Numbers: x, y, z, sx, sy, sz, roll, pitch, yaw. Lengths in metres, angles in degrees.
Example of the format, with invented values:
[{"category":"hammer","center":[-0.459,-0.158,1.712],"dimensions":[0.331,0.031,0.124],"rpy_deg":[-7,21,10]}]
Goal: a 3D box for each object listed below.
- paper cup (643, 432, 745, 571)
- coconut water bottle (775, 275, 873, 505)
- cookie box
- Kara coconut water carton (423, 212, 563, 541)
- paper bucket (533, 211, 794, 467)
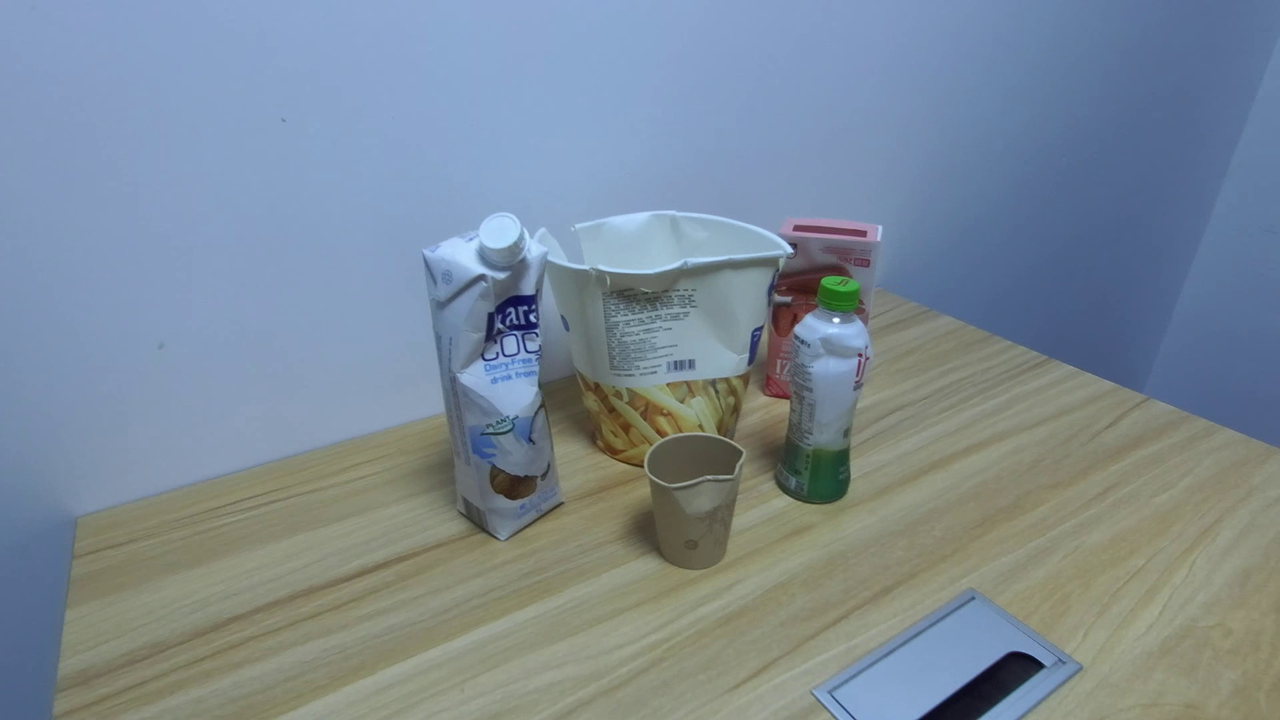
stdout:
[{"category":"paper cup","center":[0.042,0.110,0.535],"dimensions":[0.068,0.081,0.074],"rpy_deg":[16,29,32]},{"category":"coconut water bottle","center":[0.153,0.025,0.577],"dimensions":[0.069,0.186,0.069],"rpy_deg":[1,27,0]},{"category":"cookie box","center":[0.183,-0.050,0.728],"dimensions":[0.105,0.187,0.049],"rpy_deg":[9,29,18]},{"category":"Kara coconut water carton","center":[-0.110,0.012,0.539],"dimensions":[0.083,0.256,0.078],"rpy_deg":[-18,33,-32]},{"category":"paper bucket","center":[0.018,-0.022,0.657],"dimensions":[0.203,0.197,0.145],"rpy_deg":[-11,29,-19]}]
